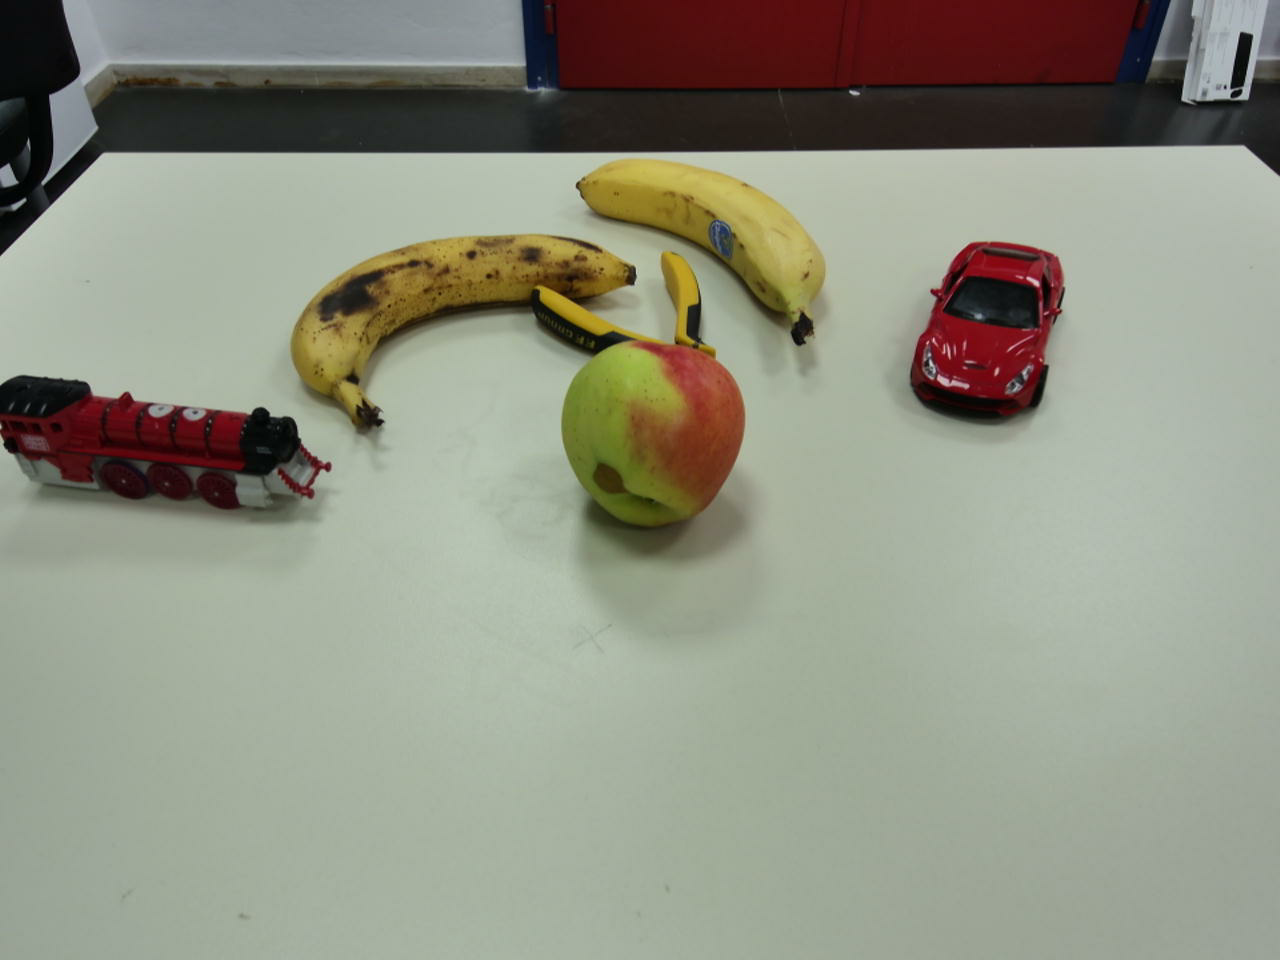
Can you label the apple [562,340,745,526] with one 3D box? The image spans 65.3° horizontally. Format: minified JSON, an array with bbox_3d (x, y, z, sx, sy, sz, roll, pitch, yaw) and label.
[{"bbox_3d":[0.006,-0.020,0.405,0.075,0.074,0.075,-11,40,-15],"label":"apple"}]
